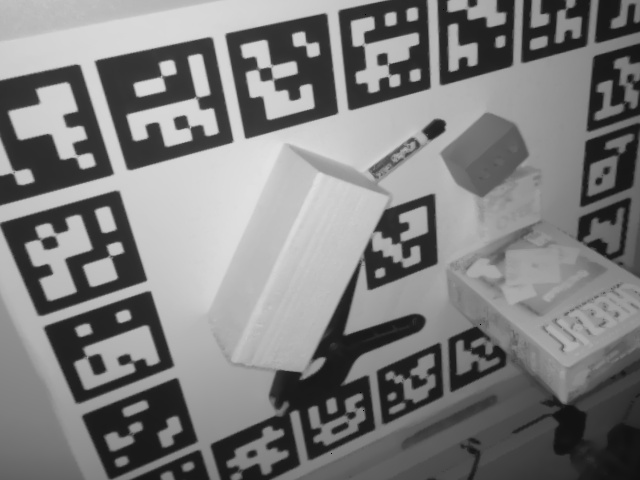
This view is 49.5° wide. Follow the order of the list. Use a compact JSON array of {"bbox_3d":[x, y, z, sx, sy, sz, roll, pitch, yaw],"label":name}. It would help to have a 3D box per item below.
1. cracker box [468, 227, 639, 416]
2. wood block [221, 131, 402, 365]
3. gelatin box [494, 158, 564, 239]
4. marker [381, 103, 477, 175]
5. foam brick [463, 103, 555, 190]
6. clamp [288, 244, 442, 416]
[{"bbox_3d":[0.294,0.079,0.791,0.166,0.213,0.071,-21,121,-14],"label":"cracker box"},{"bbox_3d":[-0.008,0.010,0.695,0.091,0.090,0.205,17,106,-33],"label":"wood block"},{"bbox_3d":[0.254,-0.050,0.831,0.090,0.030,0.073,-20,117,-17],"label":"gelatin box"},{"bbox_3d":[0.118,-0.109,0.741,0.122,0.019,0.019,-36,121,-8],"label":"marker"},{"bbox_3d":[0.210,-0.104,0.770,0.078,0.051,0.053,-40,121,-5],"label":"foam brick"},{"bbox_3d":[0.040,0.120,0.795,0.203,0.036,0.166,-46,123,-2],"label":"clamp"}]
